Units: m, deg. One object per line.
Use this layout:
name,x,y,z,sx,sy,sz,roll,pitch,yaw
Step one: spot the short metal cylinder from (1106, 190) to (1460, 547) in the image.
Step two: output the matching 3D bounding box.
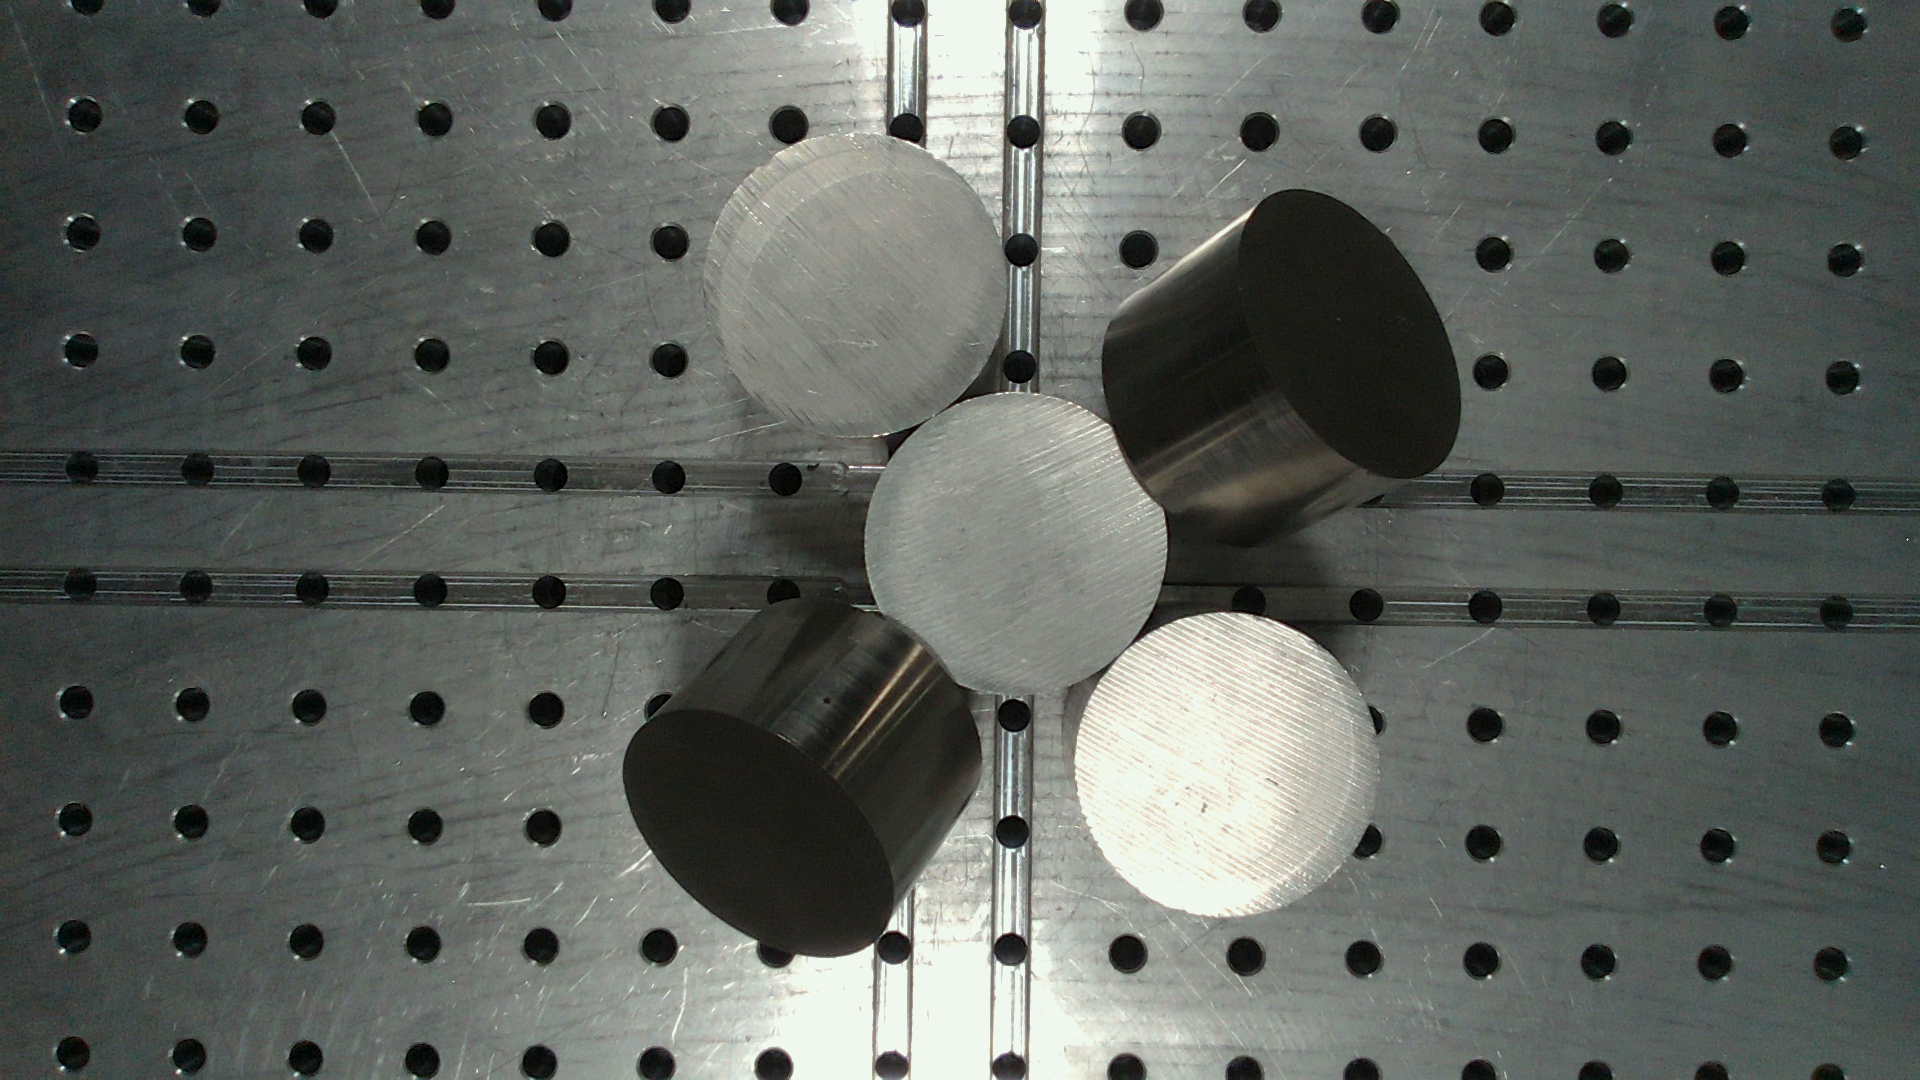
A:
short metal cylinder,0.086,-0.044,0.365,0.080,0.050,0.080,16,61,-31

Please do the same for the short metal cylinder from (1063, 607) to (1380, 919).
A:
short metal cylinder,0.070,0.059,0.385,0.080,0.050,0.080,0,90,0

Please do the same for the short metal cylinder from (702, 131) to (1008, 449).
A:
short metal cylinder,-0.027,-0.067,0.385,0.080,0.050,0.080,0,90,0

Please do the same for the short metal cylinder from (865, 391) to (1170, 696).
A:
short metal cylinder,0.015,0.001,0.385,0.080,0.050,0.080,0,90,0

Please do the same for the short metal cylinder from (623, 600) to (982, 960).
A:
short metal cylinder,-0.041,0.063,0.365,0.080,0.050,0.080,15,127,21
